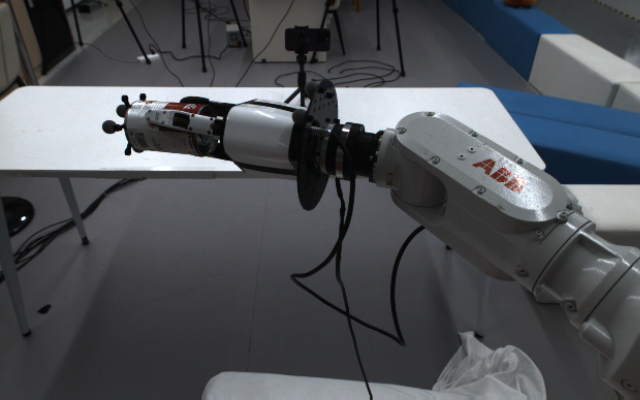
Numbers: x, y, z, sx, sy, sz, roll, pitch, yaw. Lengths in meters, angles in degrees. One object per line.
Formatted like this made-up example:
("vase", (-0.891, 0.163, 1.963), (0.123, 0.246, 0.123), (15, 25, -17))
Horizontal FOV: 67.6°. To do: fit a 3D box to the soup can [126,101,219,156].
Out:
("soup can", (-0.192, -0.095, 0.635), (0.101, 0.067, 0.067), (6, 35, 12))
